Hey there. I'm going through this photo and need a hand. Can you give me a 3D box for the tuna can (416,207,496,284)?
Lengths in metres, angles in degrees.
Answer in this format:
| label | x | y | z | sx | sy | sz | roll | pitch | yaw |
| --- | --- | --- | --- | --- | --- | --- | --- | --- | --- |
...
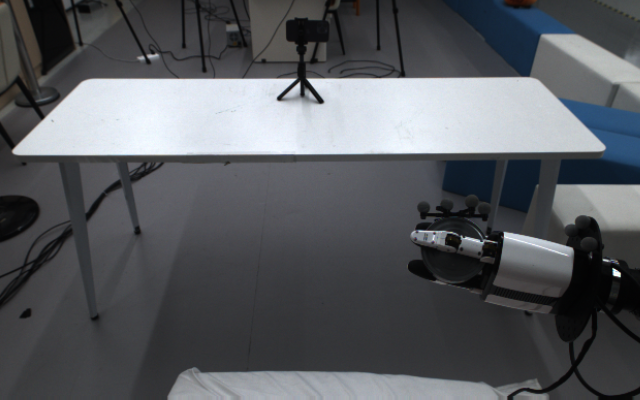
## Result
| label | x | y | z | sx | sy | sz | roll | pitch | yaw |
| --- | --- | --- | --- | --- | --- | --- | --- | --- | --- |
| tuna can | 0.179 | 0.064 | 0.643 | 0.085 | 0.034 | 0.085 | -4 | 72 | 11 |
